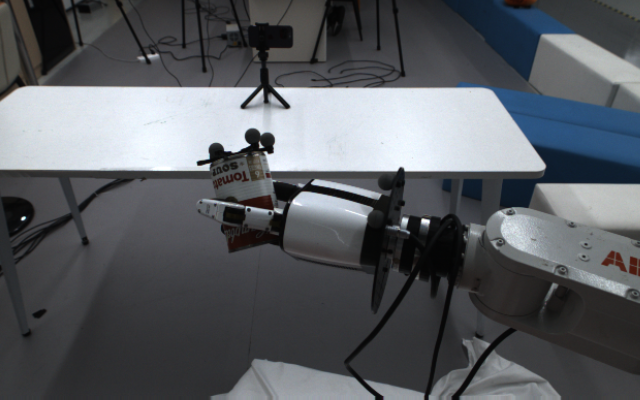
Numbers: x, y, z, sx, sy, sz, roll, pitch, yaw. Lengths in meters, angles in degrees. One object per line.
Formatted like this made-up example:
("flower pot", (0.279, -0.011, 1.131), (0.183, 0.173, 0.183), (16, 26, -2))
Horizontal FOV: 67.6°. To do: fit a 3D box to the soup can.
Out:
("soup can", (-0.081, 0.003, 0.553), (0.067, 0.101, 0.067), (-14, -2, -1))
